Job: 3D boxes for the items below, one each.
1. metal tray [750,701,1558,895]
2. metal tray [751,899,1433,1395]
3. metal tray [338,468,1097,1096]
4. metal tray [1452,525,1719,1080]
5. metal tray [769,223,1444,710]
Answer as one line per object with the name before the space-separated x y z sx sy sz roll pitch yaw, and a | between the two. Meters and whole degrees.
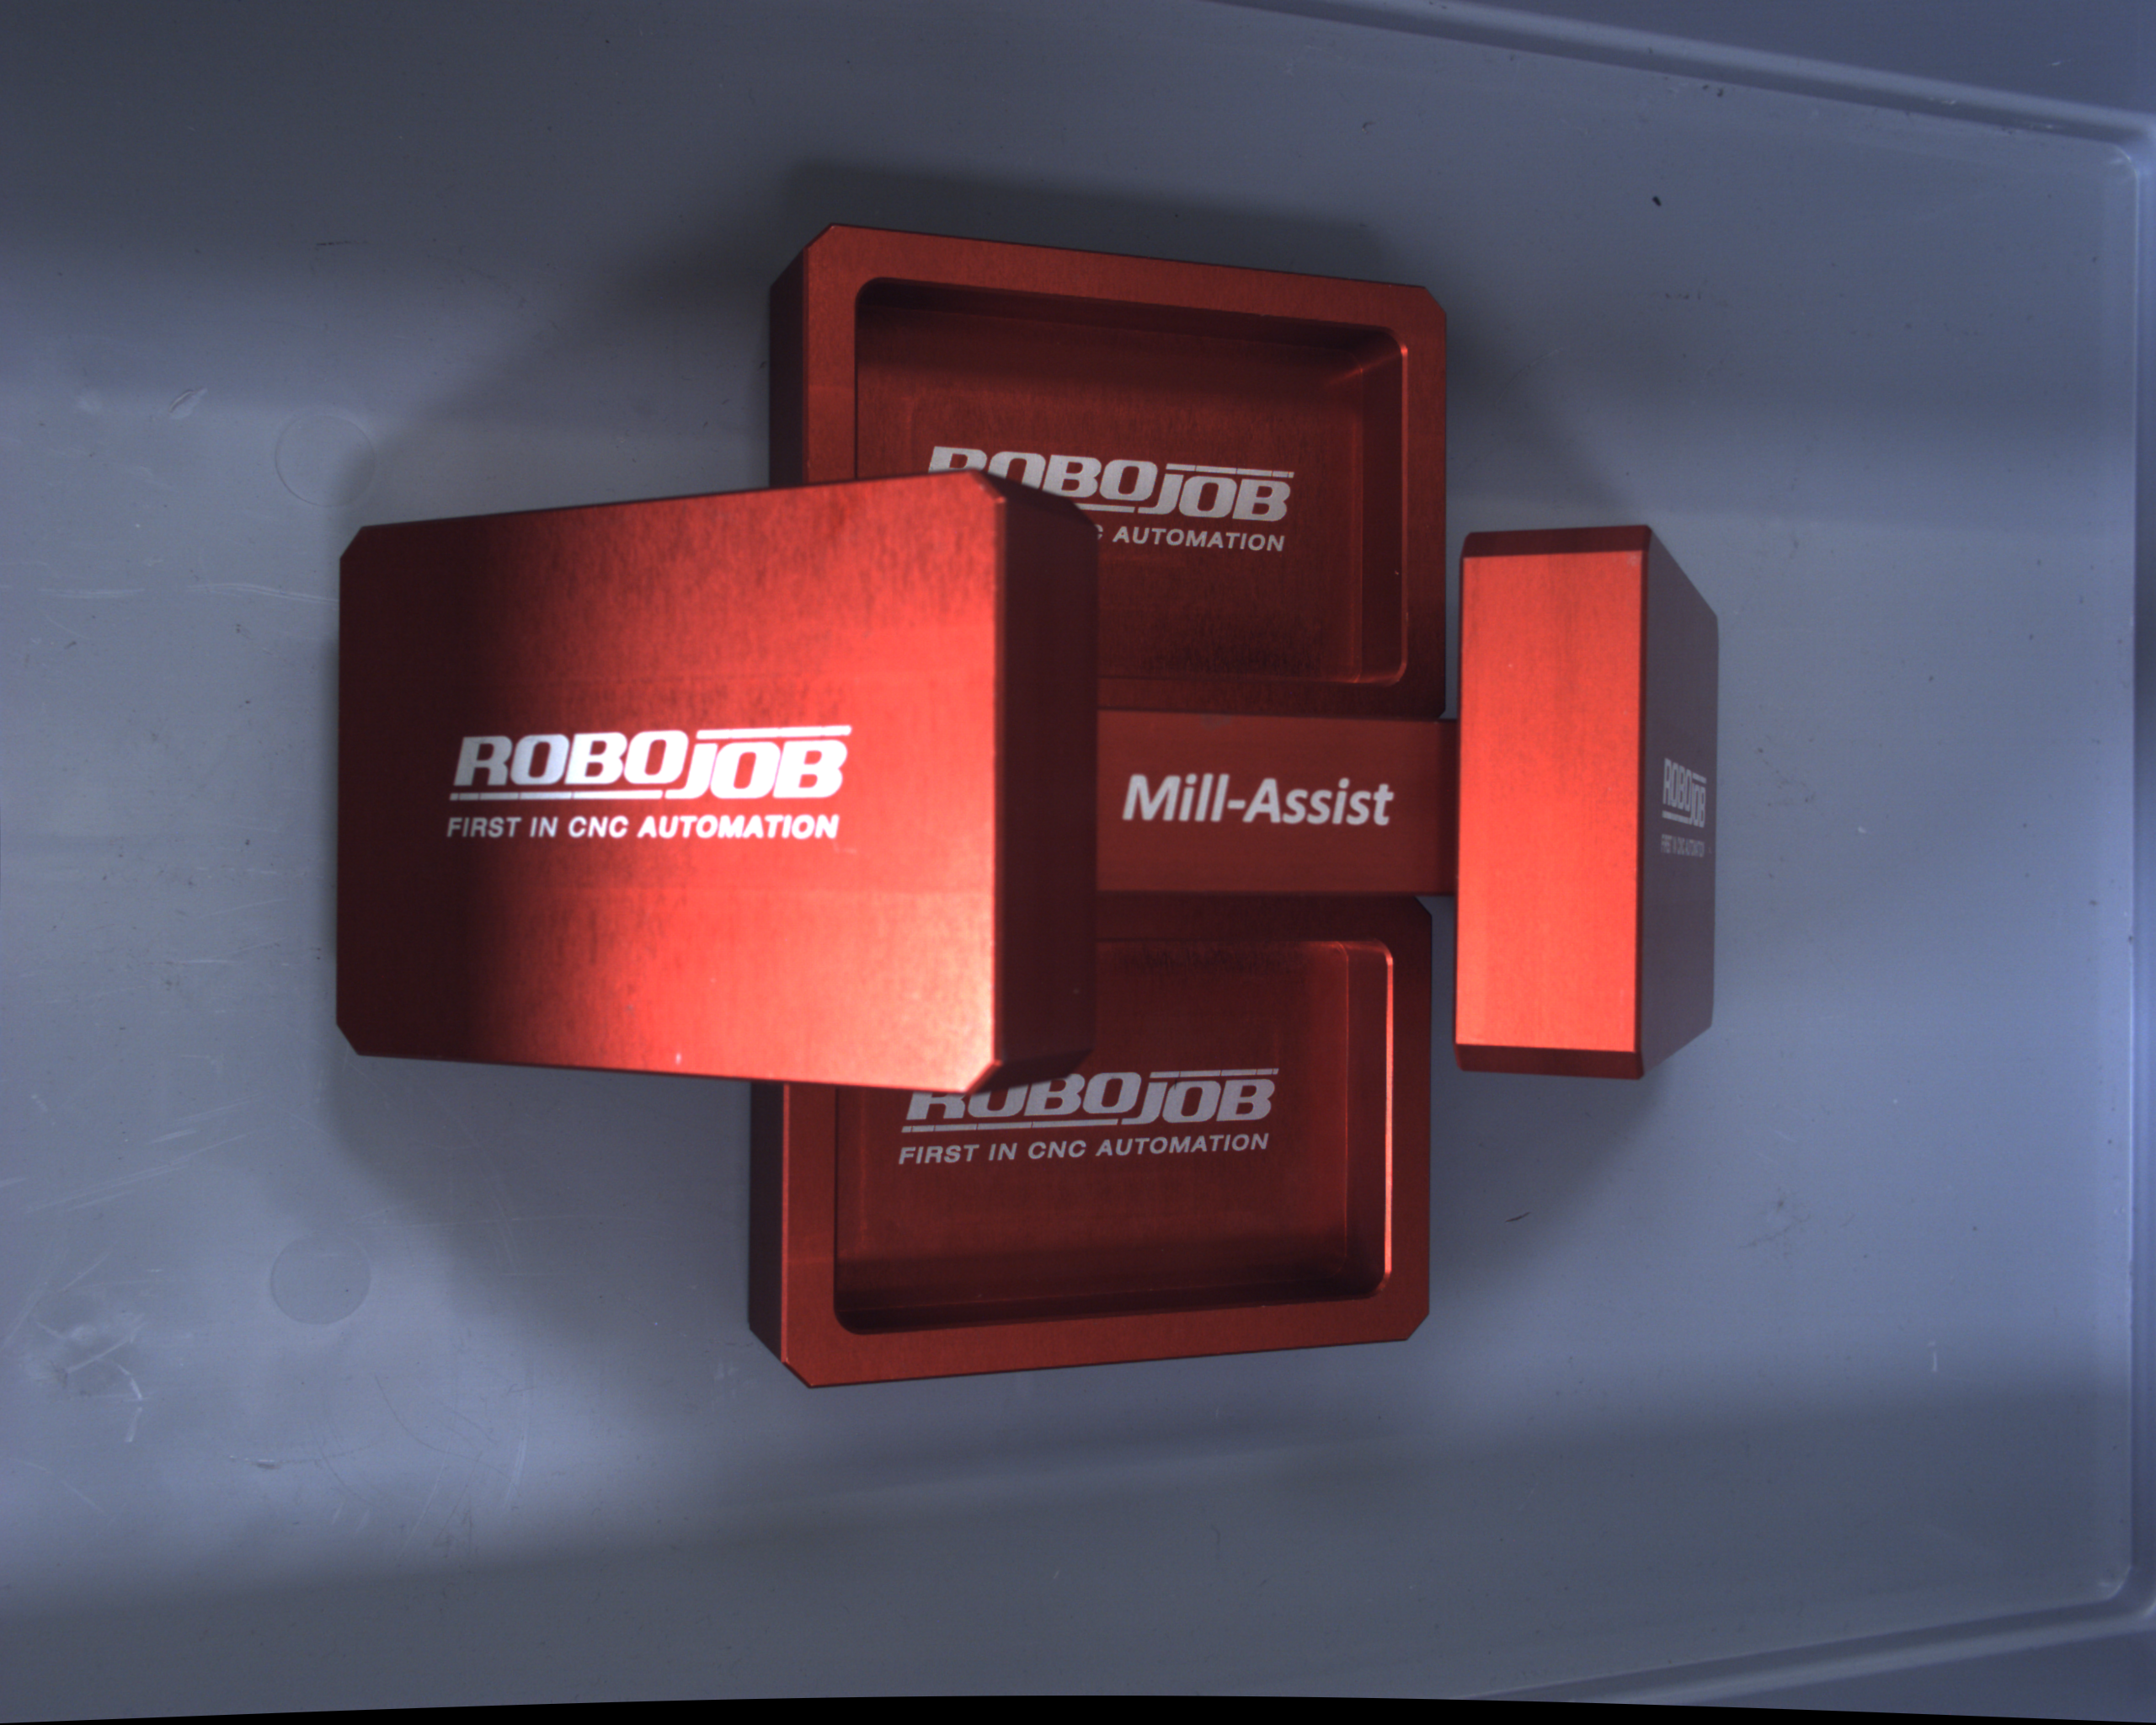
metal tray | 0.013 -0.010 0.379 0.131 0.090 0.030 0 90 -21
metal tray | 0.004 0.050 0.406 0.131 0.030 0.089 0 90 -21
metal tray | -0.062 -0.012 0.337 0.030 0.130 0.089 1 89 -62
metal tray | 0.100 -0.009 0.397 0.030 0.130 0.089 1 90 22
metal tray | 0.007 -0.070 0.408 0.131 0.030 0.089 0 91 -21
